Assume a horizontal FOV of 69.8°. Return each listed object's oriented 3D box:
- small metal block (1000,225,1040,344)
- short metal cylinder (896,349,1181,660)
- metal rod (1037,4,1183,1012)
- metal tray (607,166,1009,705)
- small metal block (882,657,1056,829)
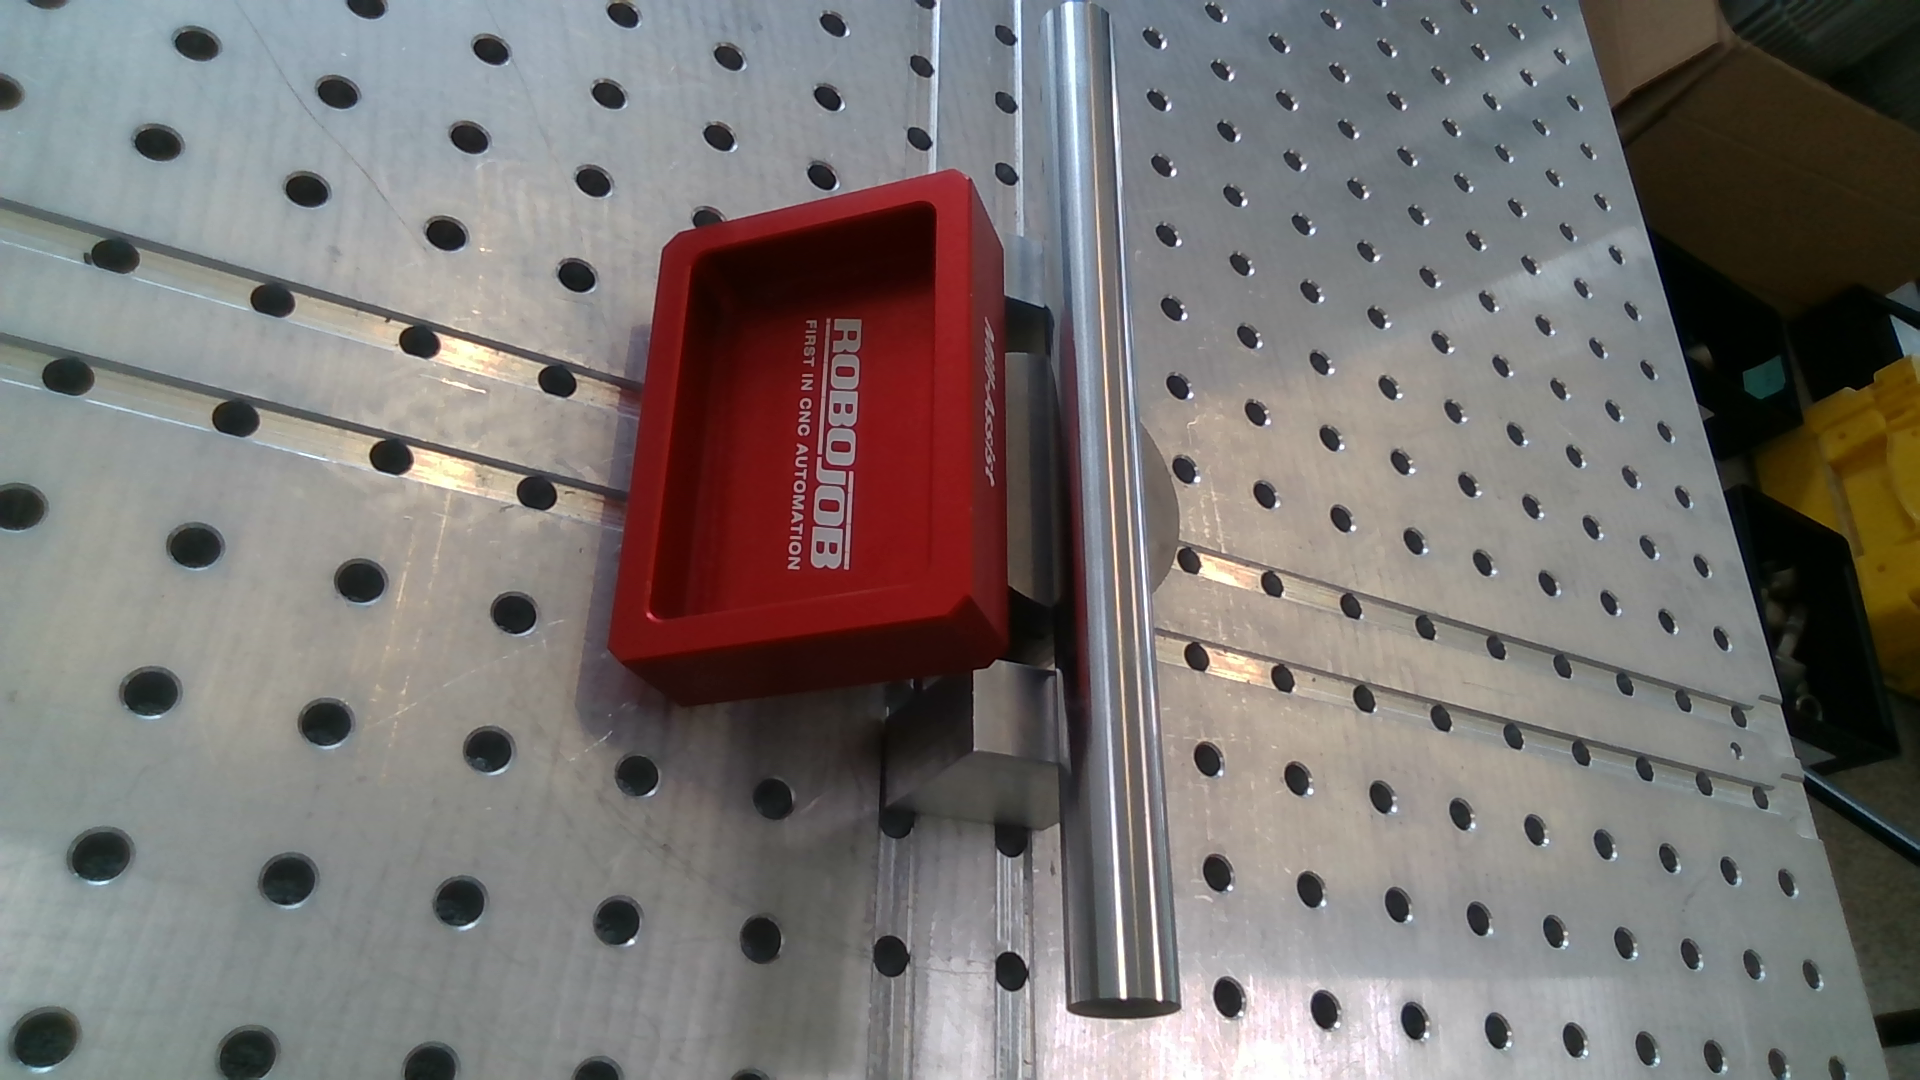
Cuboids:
[{"bbox_3d":[0.015,-0.067,0.426,0.050,0.050,0.025,13,59,-25],"label":"small metal block"},{"bbox_3d":[0.016,-0.007,0.393,0.080,0.050,0.080,14,59,-25],"label":"short metal cylinder"},{"bbox_3d":[0.036,-0.031,0.371,0.025,0.025,0.299,15,58,-25],"label":"metal rod"},{"bbox_3d":[-0.035,-0.028,0.350,0.030,0.090,0.130,55,30,-57],"label":"metal tray"},{"bbox_3d":[0.013,0.054,0.360,0.050,0.050,0.025,13,59,-25],"label":"small metal block"}]
